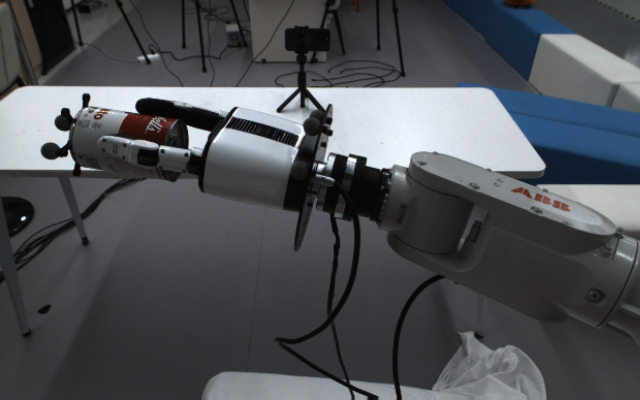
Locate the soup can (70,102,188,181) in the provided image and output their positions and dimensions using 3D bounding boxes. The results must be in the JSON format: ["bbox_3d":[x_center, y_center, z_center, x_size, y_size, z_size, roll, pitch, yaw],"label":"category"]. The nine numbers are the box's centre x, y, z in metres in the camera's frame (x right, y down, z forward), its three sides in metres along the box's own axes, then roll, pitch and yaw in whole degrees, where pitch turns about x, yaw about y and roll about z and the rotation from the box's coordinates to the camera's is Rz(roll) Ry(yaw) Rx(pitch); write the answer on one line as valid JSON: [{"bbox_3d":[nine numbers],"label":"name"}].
[{"bbox_3d":[-0.200,-0.060,0.519,0.101,0.067,0.067,9,35,2],"label":"soup can"}]
